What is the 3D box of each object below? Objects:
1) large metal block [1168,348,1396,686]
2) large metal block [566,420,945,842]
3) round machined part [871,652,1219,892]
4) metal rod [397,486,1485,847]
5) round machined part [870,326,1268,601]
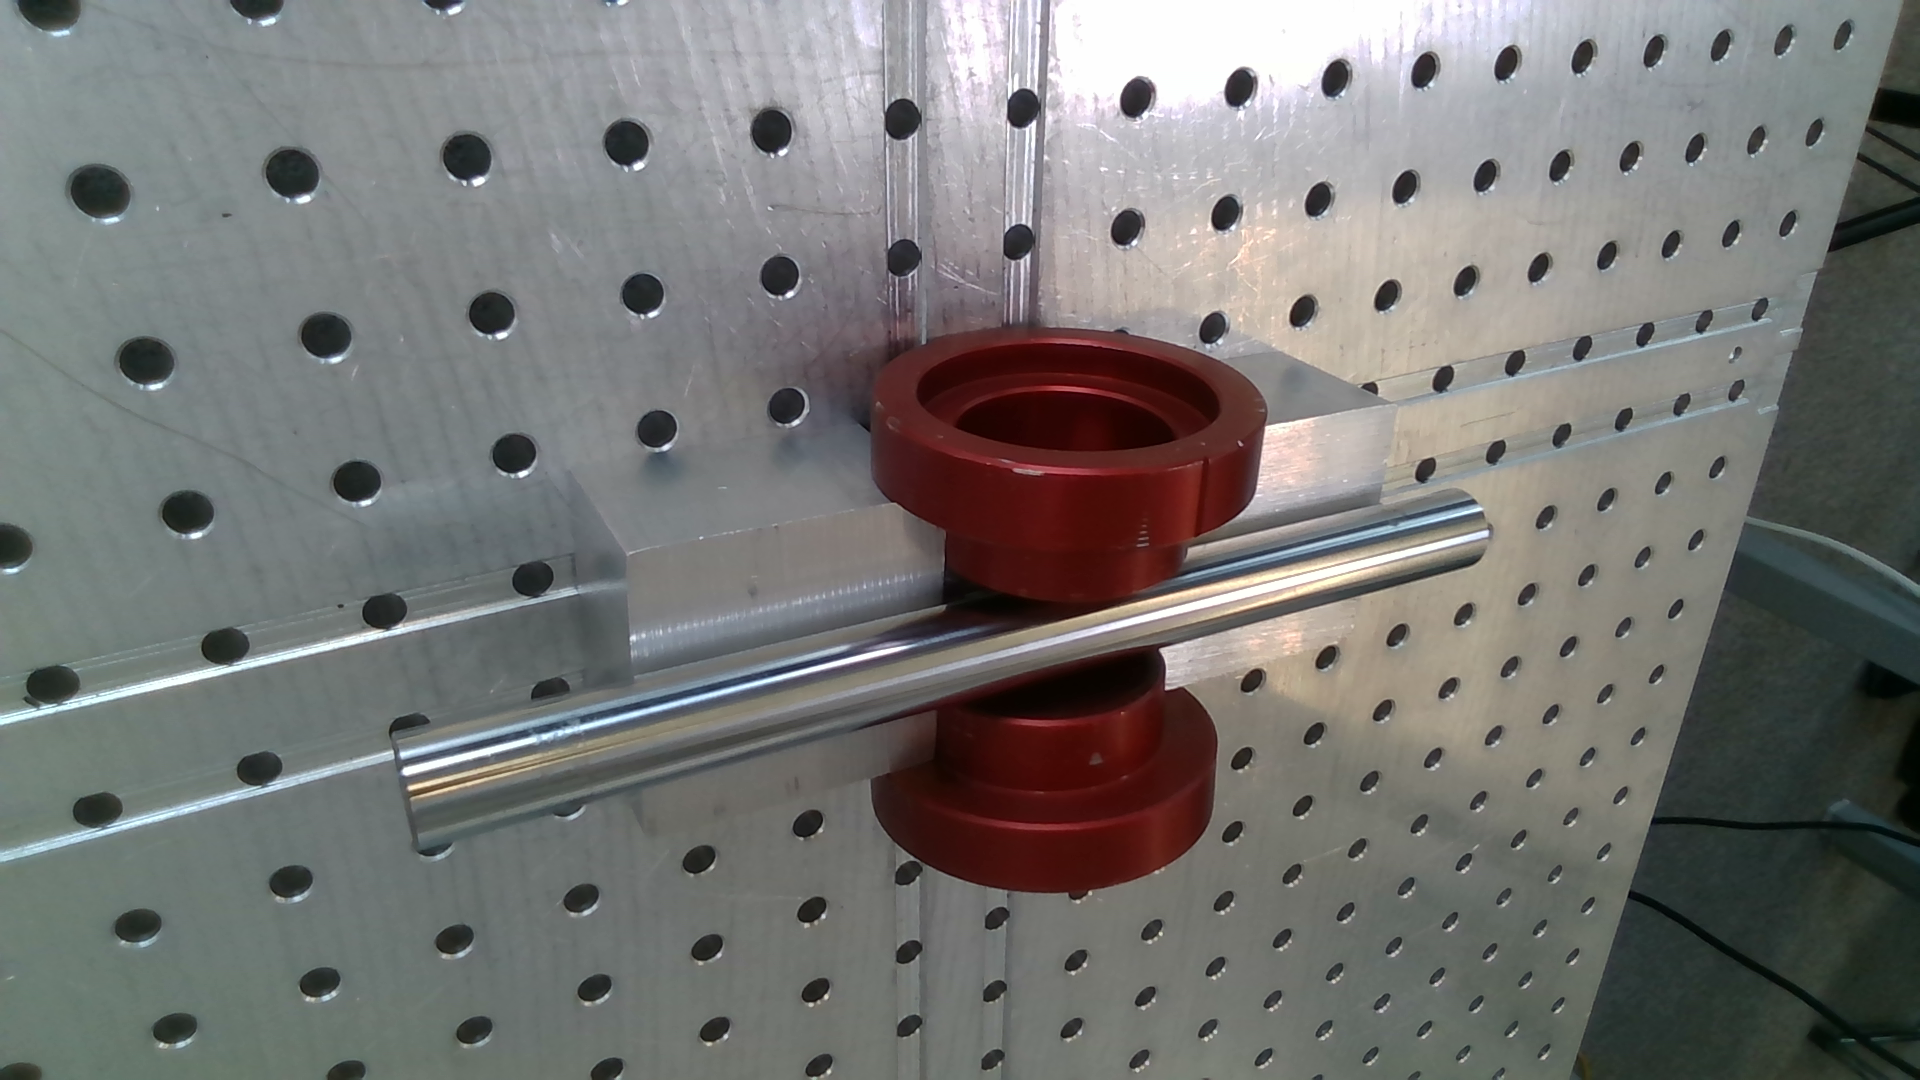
[{"bbox_3d":[0.078,-0.008,0.420,0.080,0.050,0.080,-12,121,-26],"label":"large metal block"},{"bbox_3d":[-0.052,0.021,0.356,0.080,0.050,0.080,-12,120,-26],"label":"large metal block"},{"bbox_3d":[0.023,0.052,0.388,0.098,0.098,0.042,-13,116,-26],"label":"round machined part"},{"bbox_3d":[0.017,0.024,0.352,0.300,0.025,0.025,-12,120,-26],"label":"metal rod"},{"bbox_3d":[0.026,-0.019,0.351,0.098,0.098,0.042,-13,121,-26],"label":"round machined part"}]
